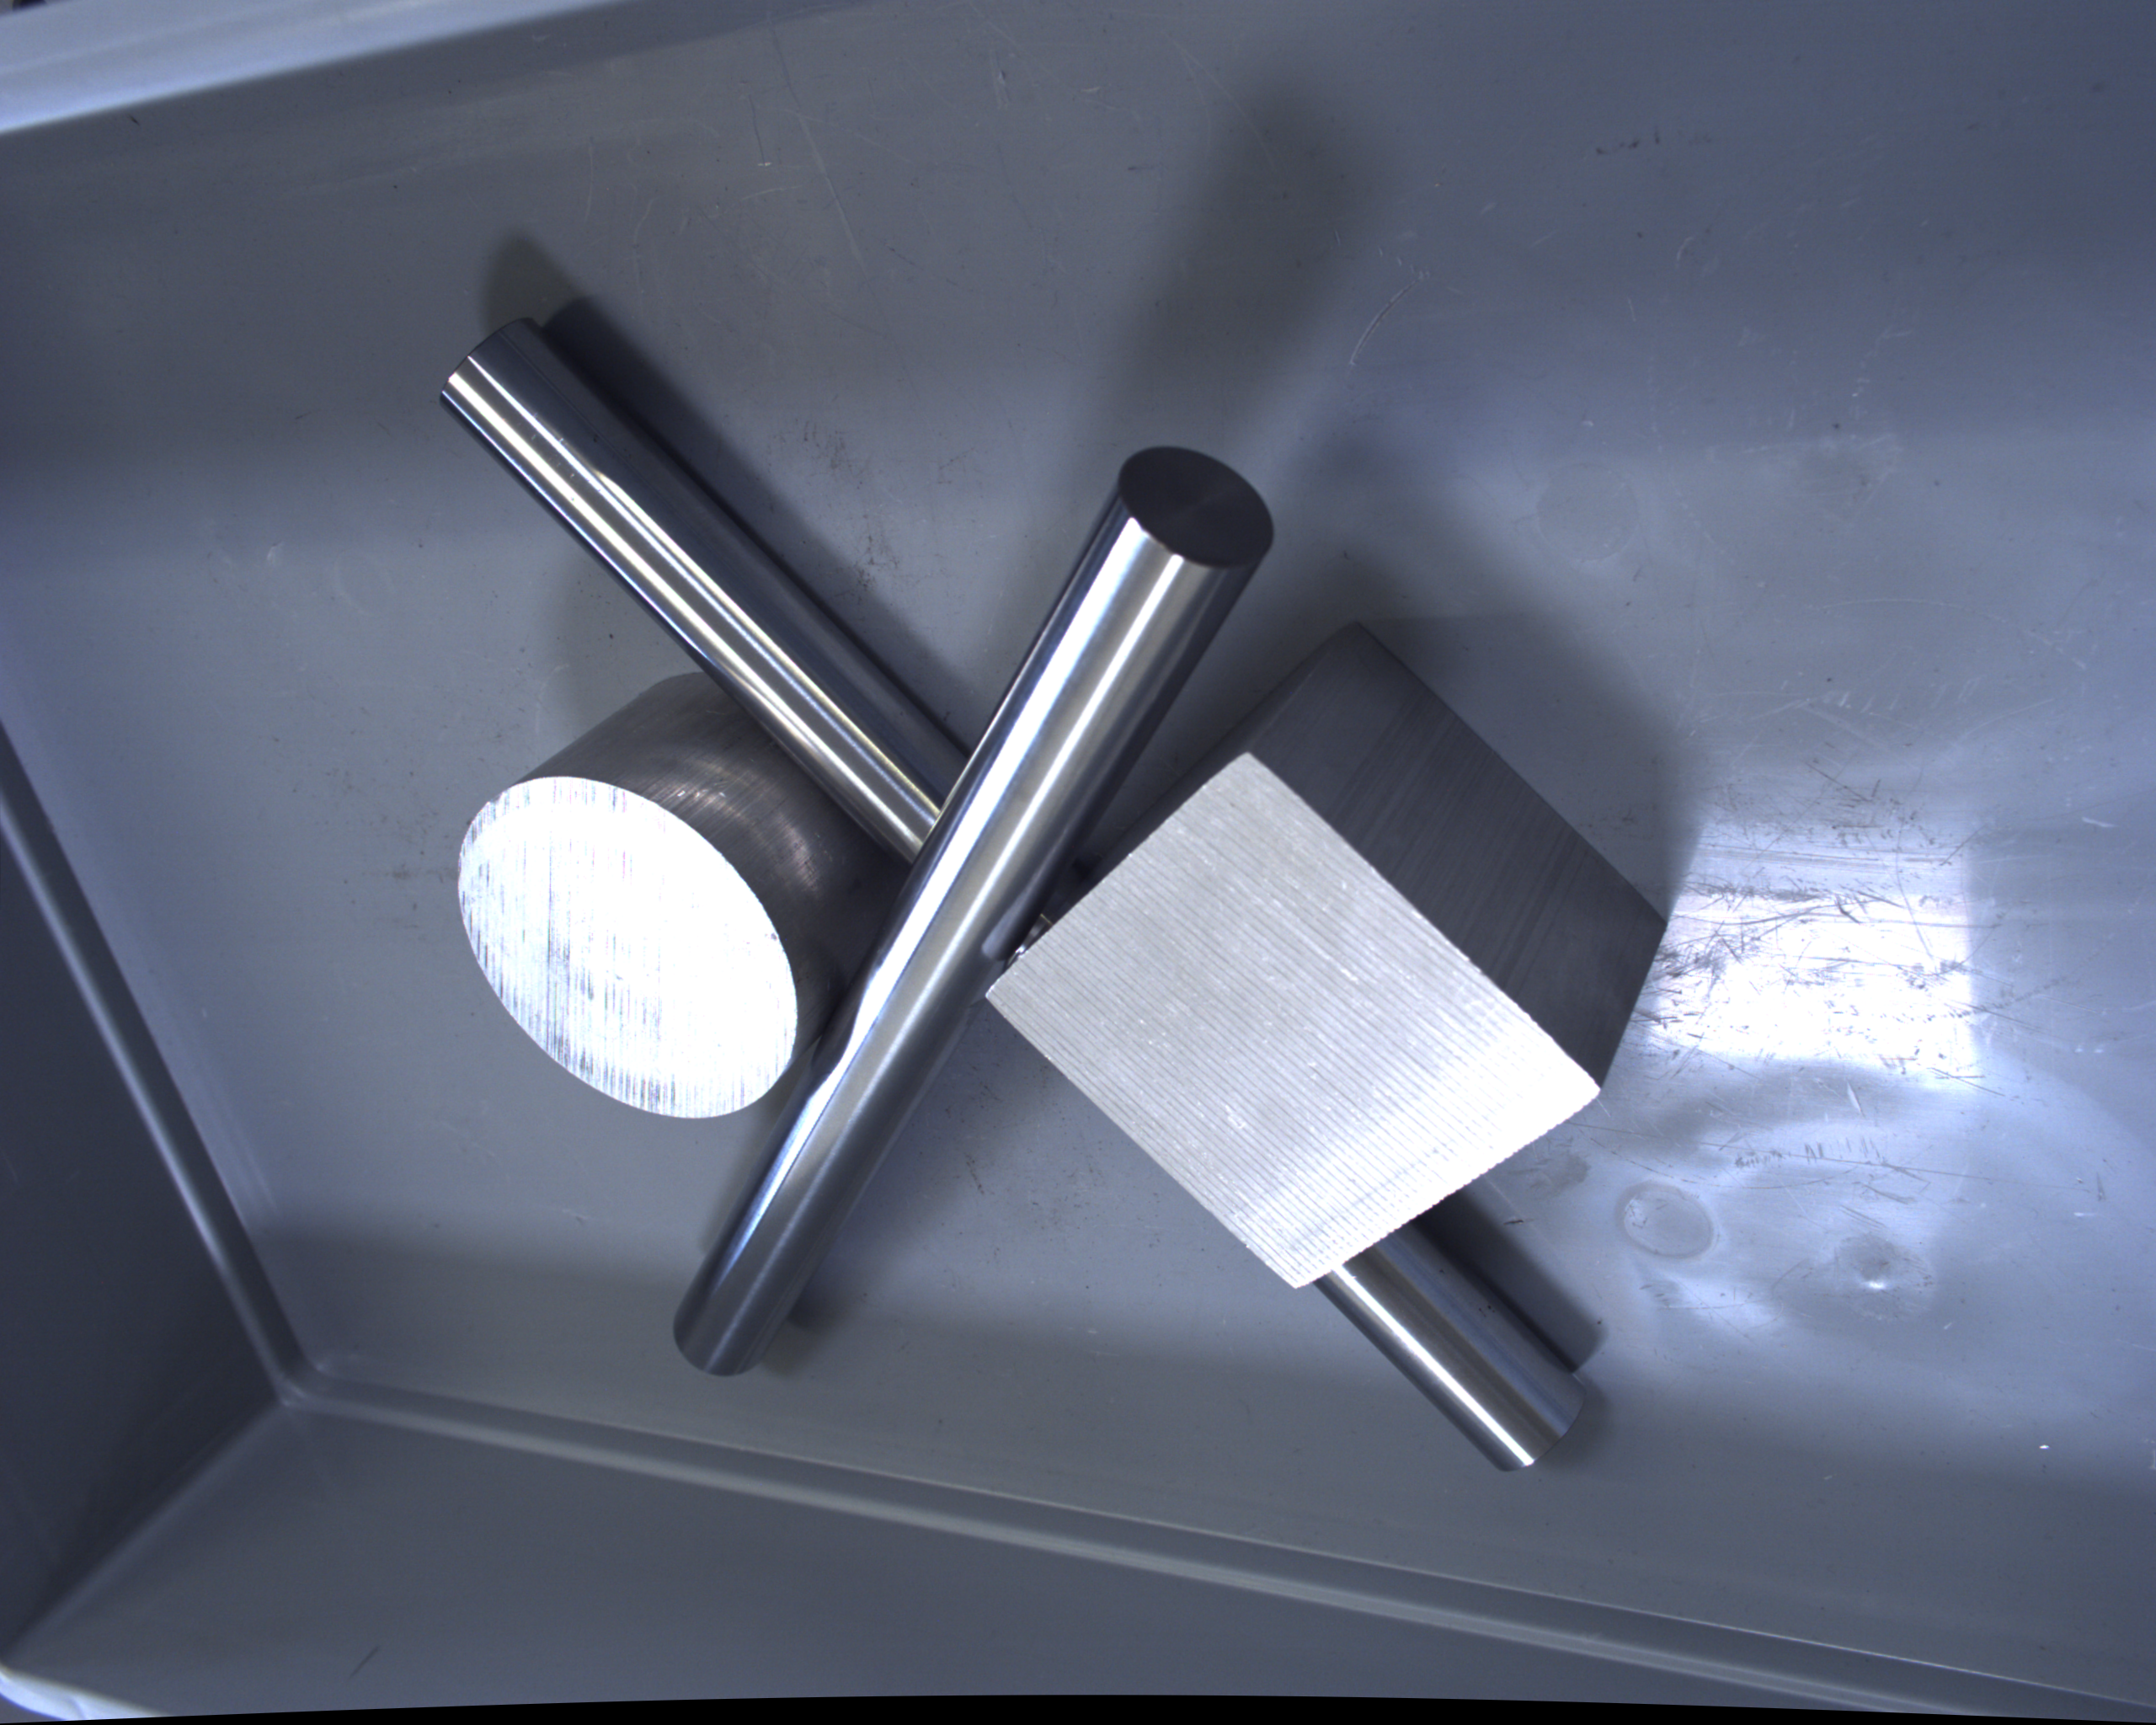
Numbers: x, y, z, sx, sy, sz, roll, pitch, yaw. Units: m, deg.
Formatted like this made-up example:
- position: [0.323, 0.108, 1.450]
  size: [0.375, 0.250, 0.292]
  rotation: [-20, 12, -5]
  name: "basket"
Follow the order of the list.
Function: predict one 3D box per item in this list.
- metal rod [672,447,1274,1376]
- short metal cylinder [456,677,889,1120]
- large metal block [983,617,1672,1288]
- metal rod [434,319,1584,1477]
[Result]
- position: [-0.036, 0.033, 0.419]
  size: [0.025, 0.025, 0.298]
  rotation: [36, 137, 4]
  name: "metal rod"
- position: [-0.081, 0.007, 0.437]
  size: [0.080, 0.050, 0.079]
  rotation: [13, 124, 21]
  name: "short metal cylinder"
- position: [0.044, 0.017, 0.376]
  size: [0.080, 0.050, 0.080]
  rotation: [44, 129, -2]
  name: "large metal block"
- position: [-0.011, 0.010, 0.417]
  size: [0.300, 0.025, 0.025]
  rotation: [45, 129, -4]
  name: "metal rod"
